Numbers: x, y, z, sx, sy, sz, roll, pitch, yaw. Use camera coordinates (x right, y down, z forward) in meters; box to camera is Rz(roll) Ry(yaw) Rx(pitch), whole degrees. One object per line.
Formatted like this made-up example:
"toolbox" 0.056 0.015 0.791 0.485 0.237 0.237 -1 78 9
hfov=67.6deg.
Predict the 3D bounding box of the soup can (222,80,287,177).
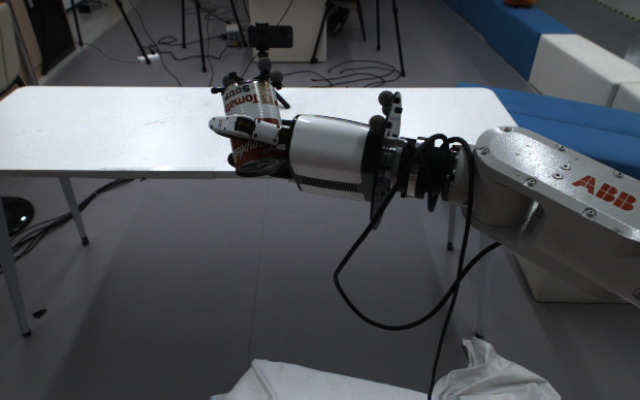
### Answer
"soup can" -0.078 -0.086 0.593 0.067 0.067 0.101 -10 80 -17
